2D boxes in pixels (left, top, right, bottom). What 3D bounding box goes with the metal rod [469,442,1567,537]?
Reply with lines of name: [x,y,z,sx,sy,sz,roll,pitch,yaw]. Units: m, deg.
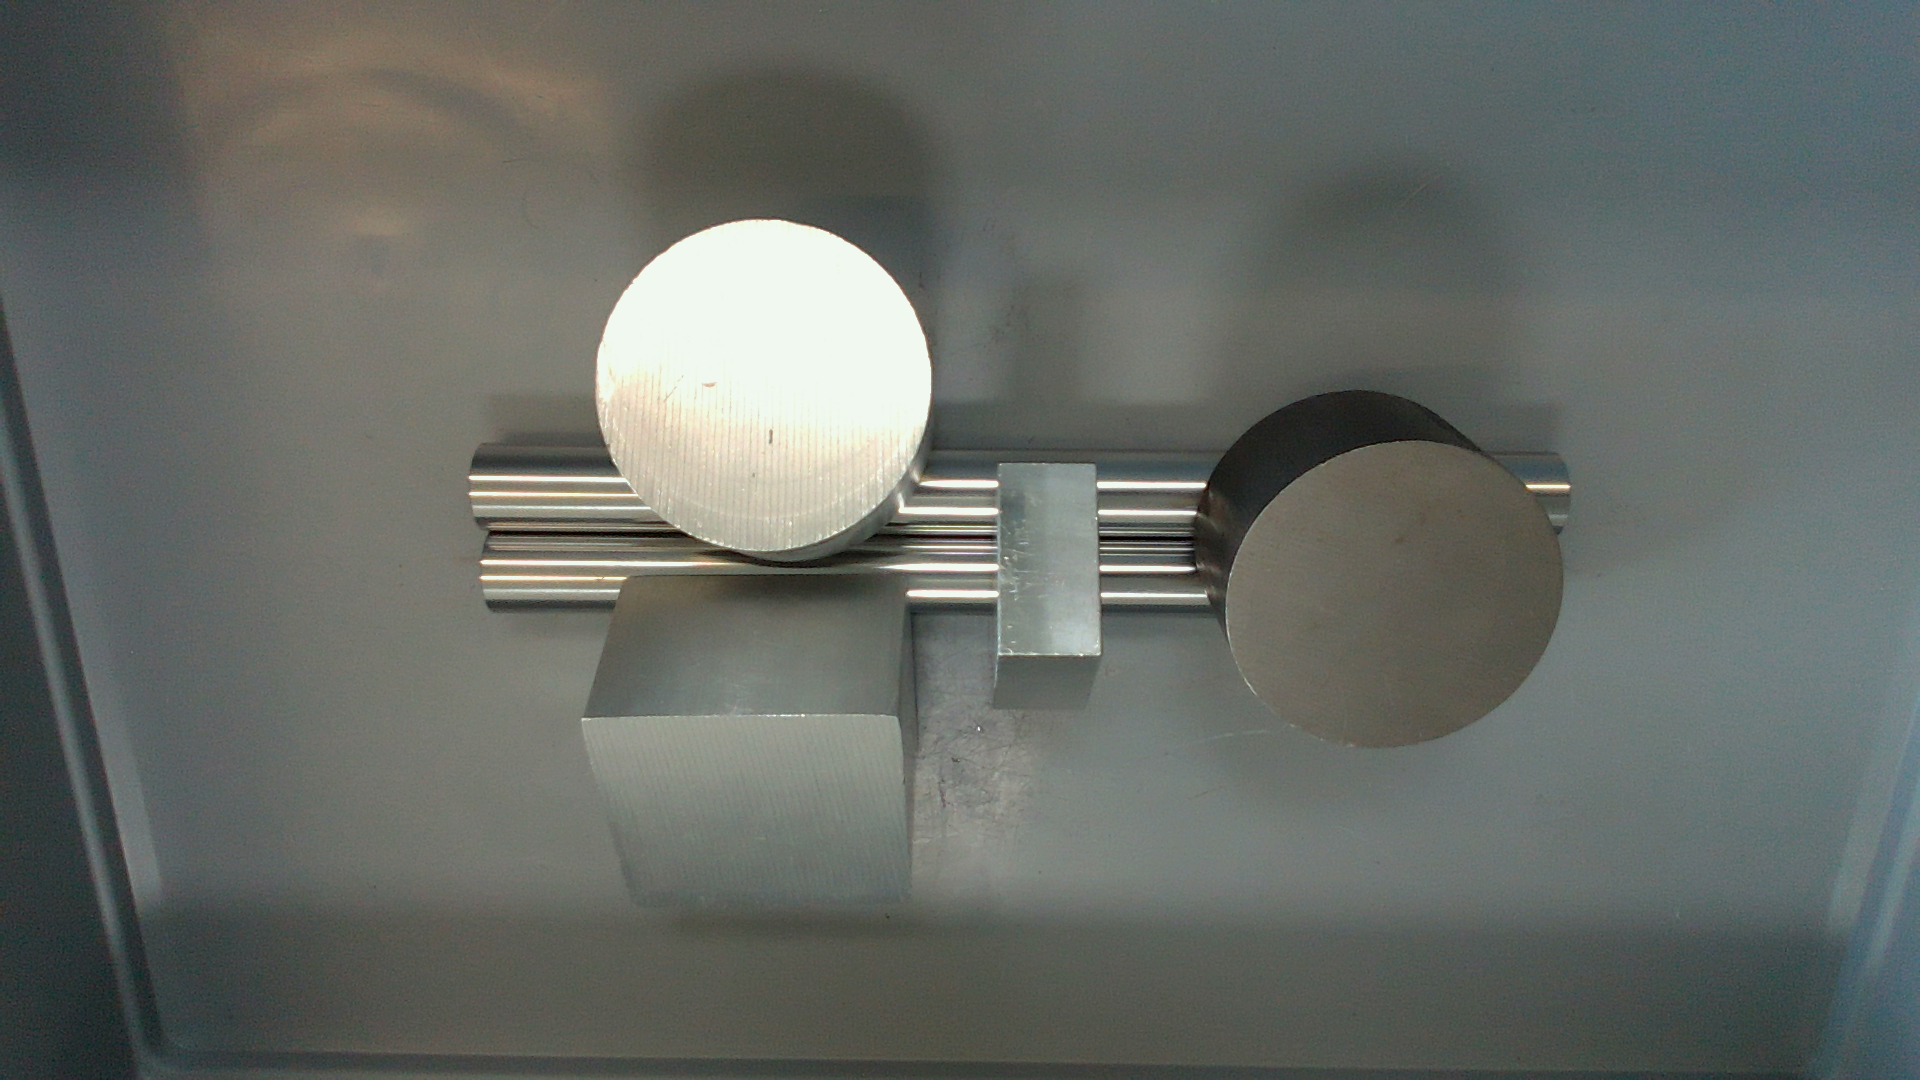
metal rod: [0.016,-0.014,0.388,0.300,0.025,0.025,0,110,0]

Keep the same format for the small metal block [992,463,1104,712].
small metal block: [0.021,0.014,0.355,0.025,0.050,0.050,1,68,0]

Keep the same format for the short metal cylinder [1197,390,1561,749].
short metal cylinder: [0.105,0.006,0.356,0.080,0.050,0.080,0,110,0]

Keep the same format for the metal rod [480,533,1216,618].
metal rod: [0.016,0.010,0.397,0.300,0.025,0.025,0,110,0]

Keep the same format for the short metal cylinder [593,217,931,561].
short metal cylinder: [-0.047,-0.036,0.351,0.080,0.050,0.080,0,86,-1]

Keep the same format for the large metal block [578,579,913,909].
large metal block: [-0.054,0.058,0.386,0.080,0.050,0.080,-1,130,0]
